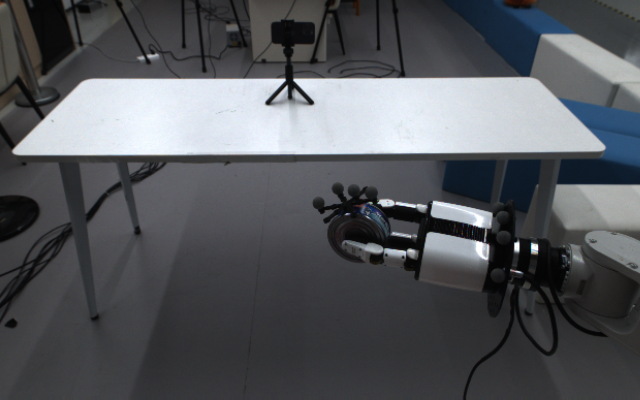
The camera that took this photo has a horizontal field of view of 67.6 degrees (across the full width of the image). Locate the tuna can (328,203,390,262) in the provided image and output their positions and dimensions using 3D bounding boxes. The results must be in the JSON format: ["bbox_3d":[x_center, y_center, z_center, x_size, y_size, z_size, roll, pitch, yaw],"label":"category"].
[{"bbox_3d":[0.058,0.052,0.680,0.085,0.085,0.034,11,34,13],"label":"tuna can"}]
